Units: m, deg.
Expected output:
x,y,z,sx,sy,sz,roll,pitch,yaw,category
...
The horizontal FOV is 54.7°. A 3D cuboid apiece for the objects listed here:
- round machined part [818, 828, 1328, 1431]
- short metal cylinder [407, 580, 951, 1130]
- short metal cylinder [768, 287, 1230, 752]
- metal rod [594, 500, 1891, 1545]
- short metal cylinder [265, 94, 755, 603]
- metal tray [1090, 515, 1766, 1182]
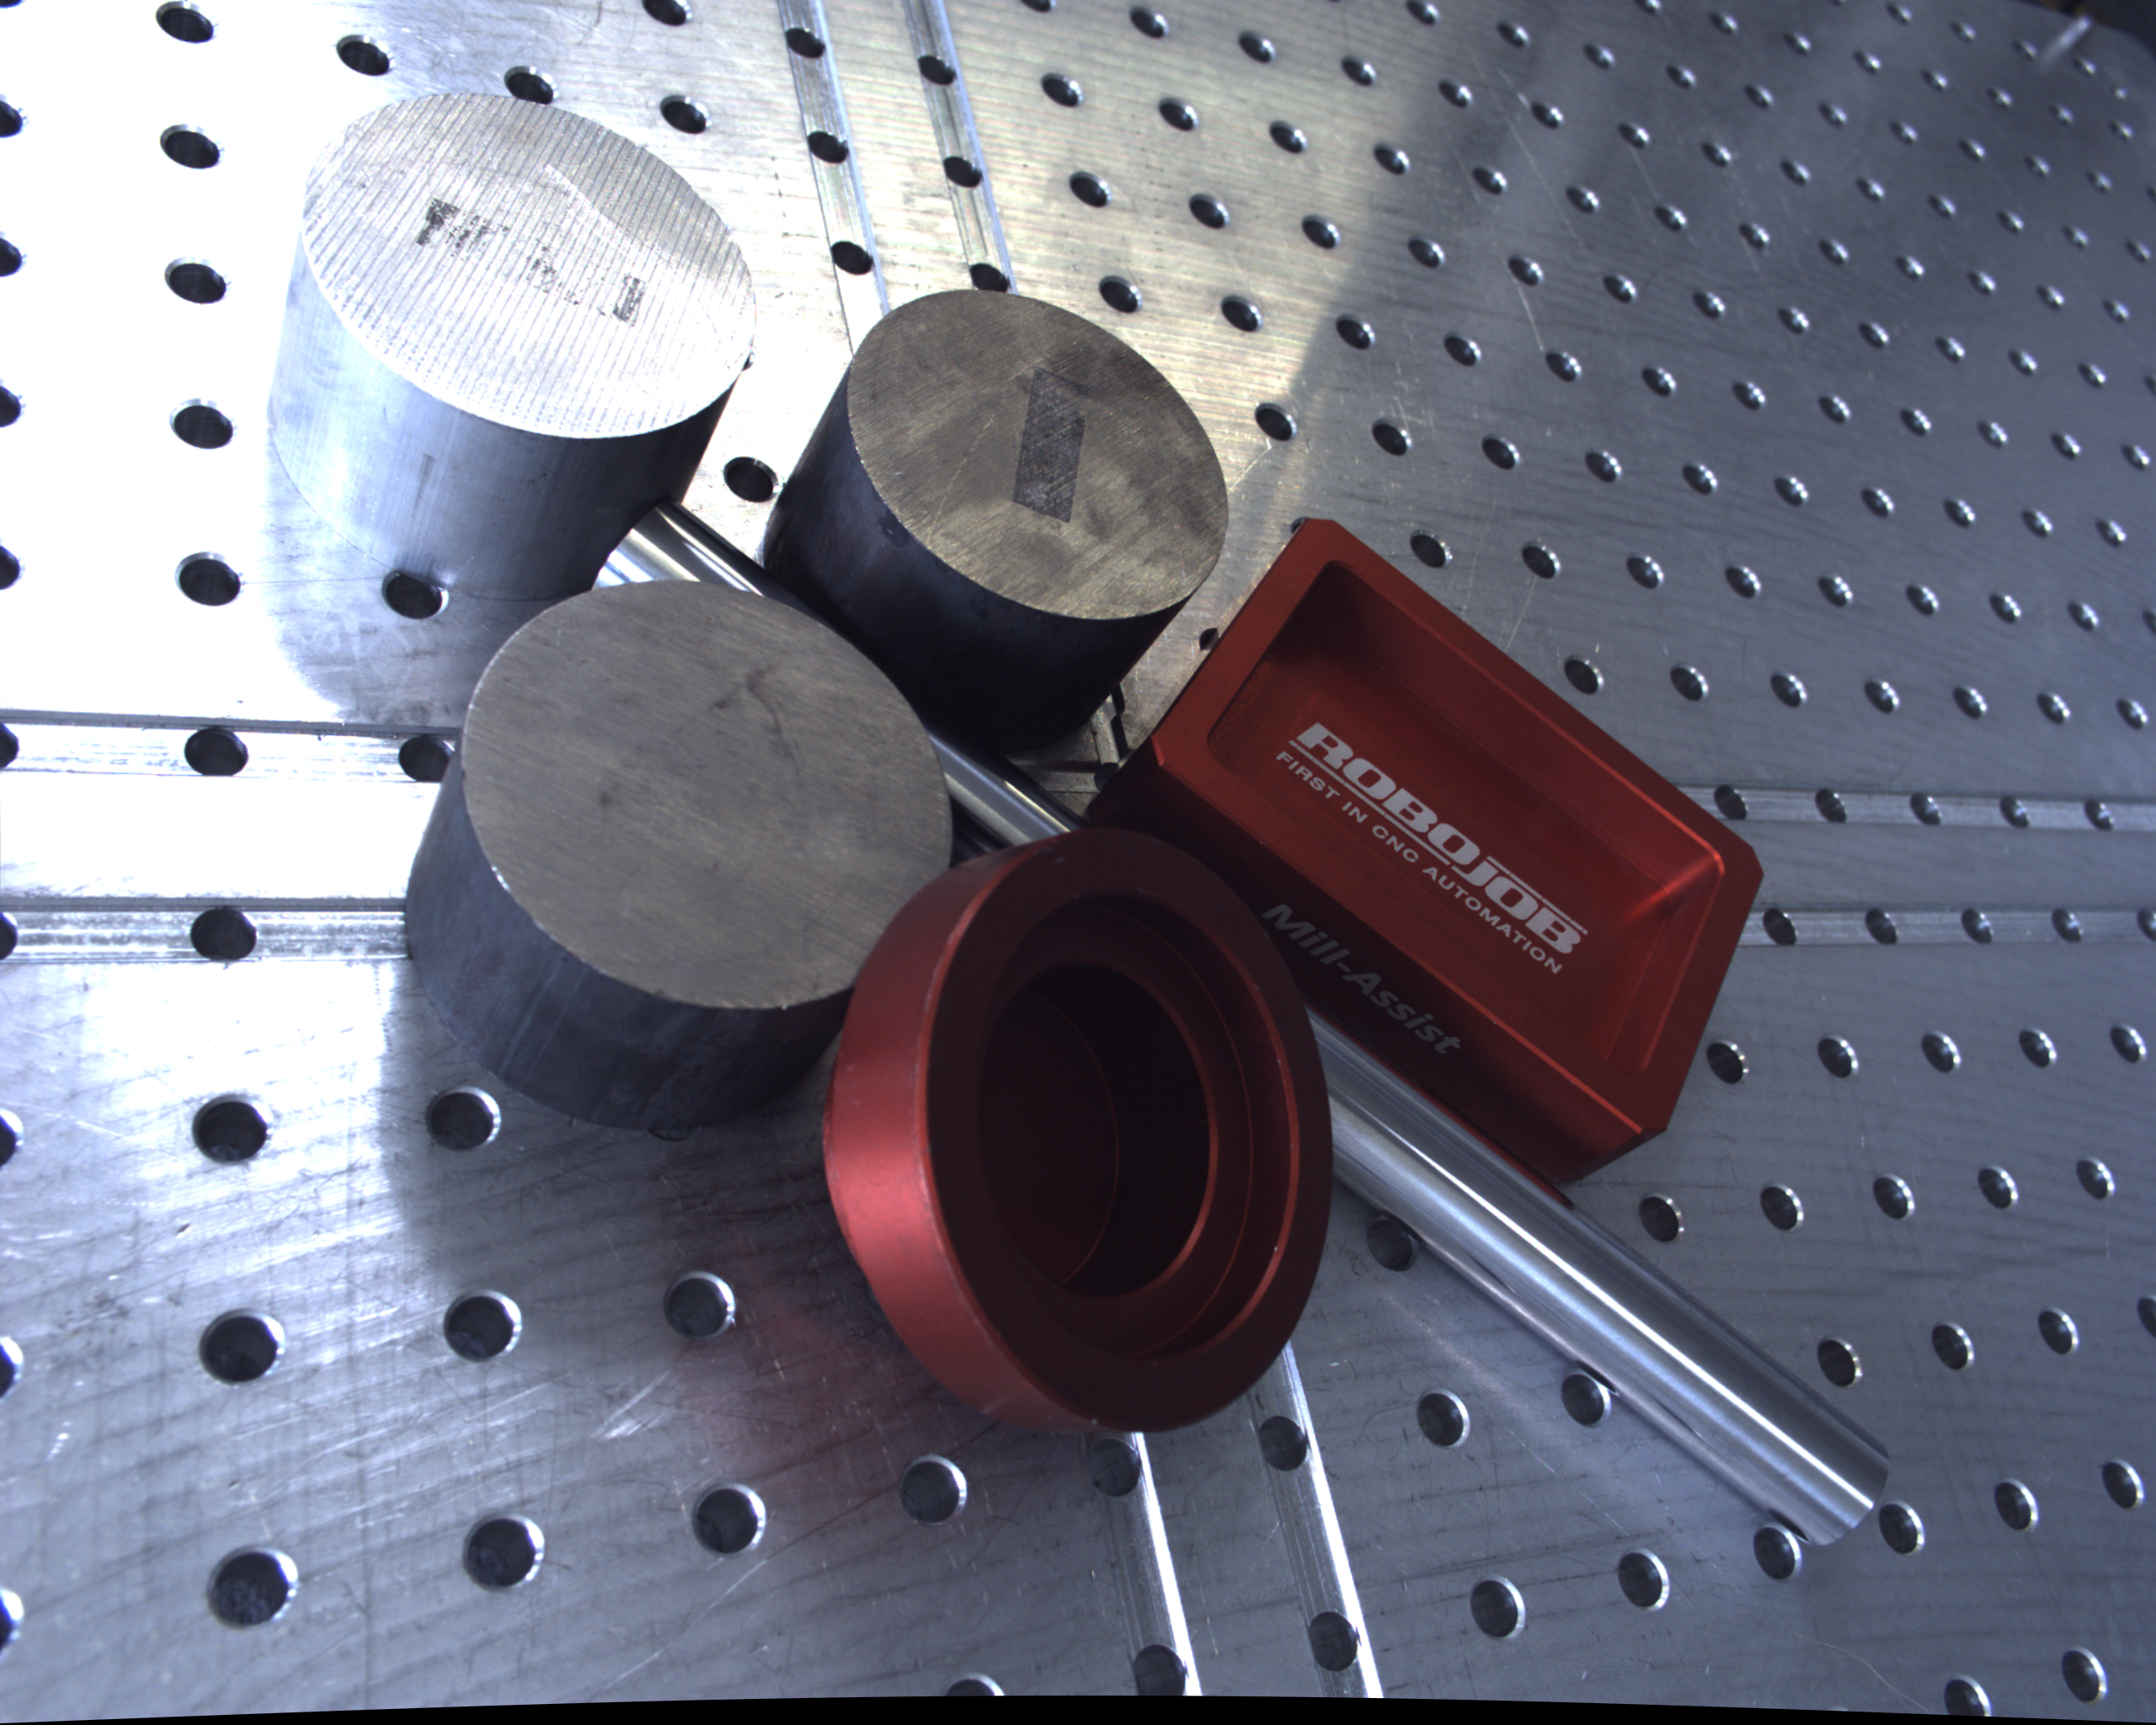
x,y,z,sx,sy,sz,roll,pitch,yaw,category
-0.004,0.046,0.353,0.099,0.042,0.098,17,66,-43,round machined part
-0.068,-0.001,0.355,0.081,0.050,0.080,14,56,-21,short metal cylinder
-0.017,-0.069,0.424,0.081,0.050,0.080,14,56,-21,short metal cylinder
0.033,0.033,0.406,0.300,0.025,0.025,38,51,-3,metal rod
-0.107,-0.096,0.393,0.081,0.050,0.080,14,56,-21,short metal cylinder
0.078,-0.005,0.449,0.130,0.030,0.090,38,52,-3,metal tray
